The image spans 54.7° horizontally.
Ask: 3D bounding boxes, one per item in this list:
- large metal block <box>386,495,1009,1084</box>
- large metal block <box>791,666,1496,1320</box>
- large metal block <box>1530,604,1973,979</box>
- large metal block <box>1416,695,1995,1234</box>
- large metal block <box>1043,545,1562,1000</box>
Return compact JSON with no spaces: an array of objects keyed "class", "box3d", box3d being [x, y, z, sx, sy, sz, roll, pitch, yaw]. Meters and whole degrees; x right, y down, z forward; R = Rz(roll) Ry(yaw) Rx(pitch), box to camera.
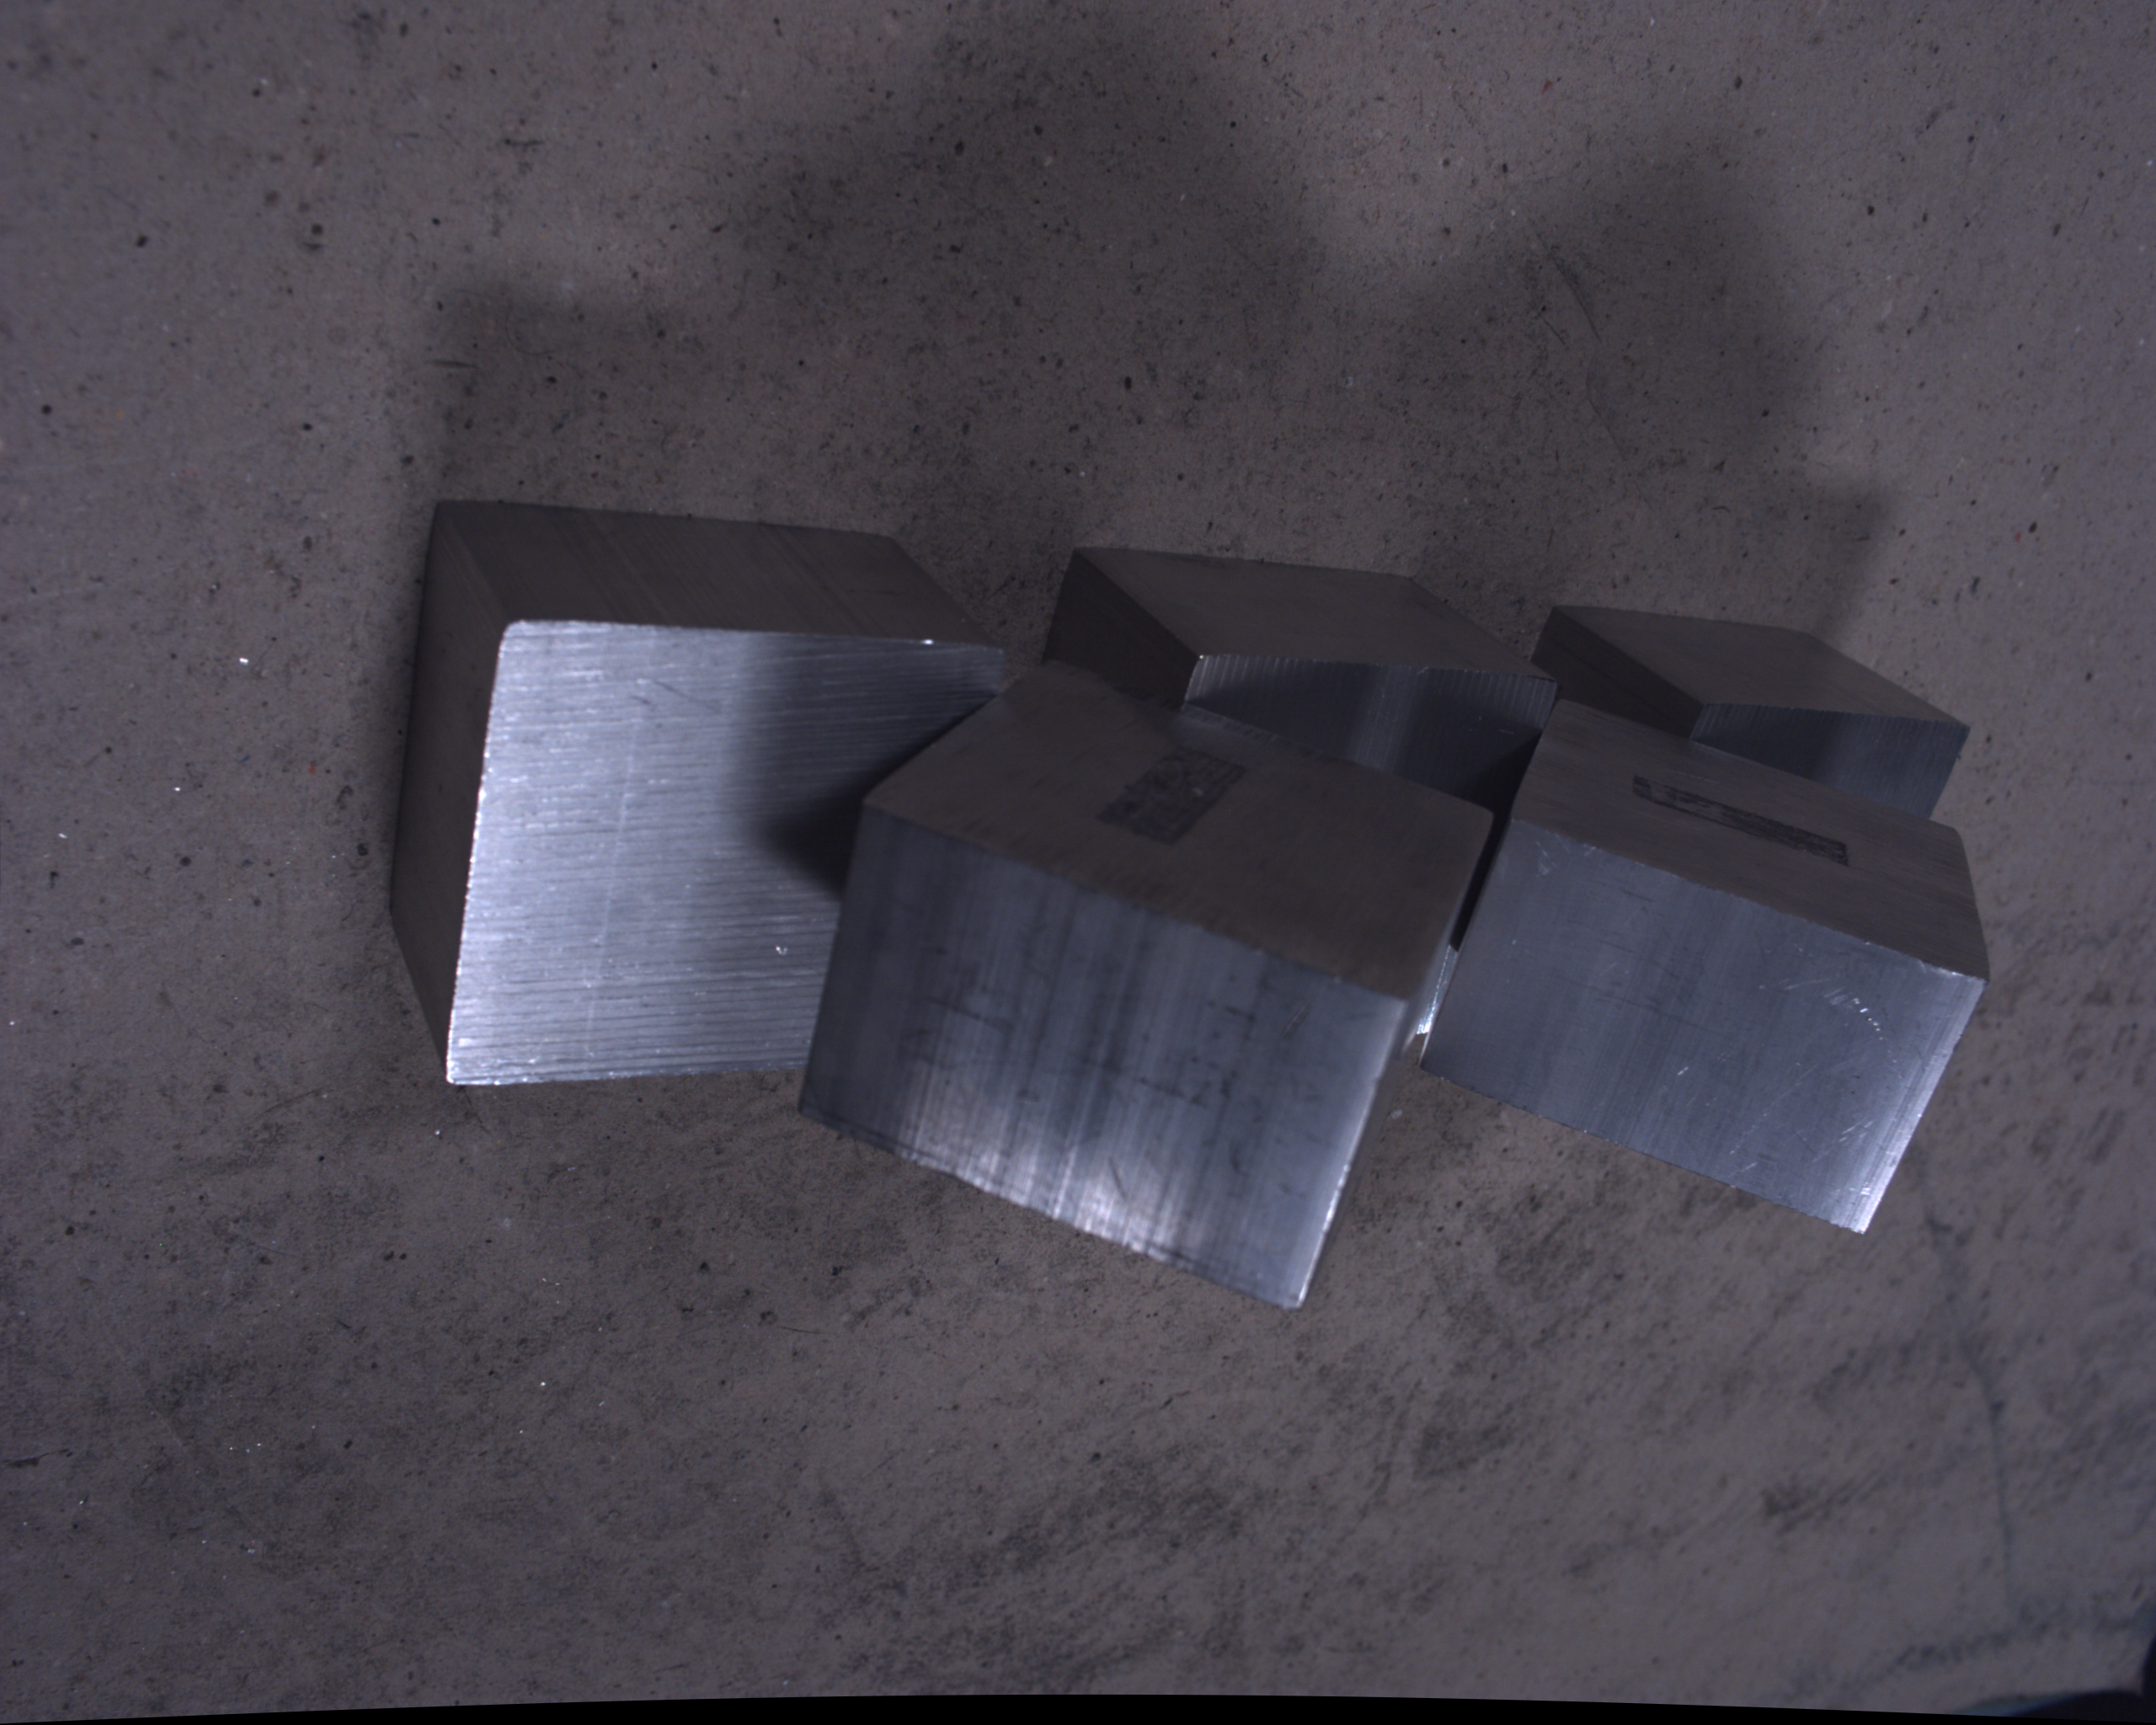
[{"class":"large metal block","box3d":[-0.066,-0.012,0.350,0.081,0.050,0.079,0,118,-29]},{"class":"large metal block","box3d":[0.013,0.015,0.326,0.080,0.080,0.050,-47,155,-62]},{"class":"large metal block","box3d":[0.137,-0.008,0.465,0.081,0.050,0.079,1,118,-30]},{"class":"large metal block","box3d":[0.115,0.014,0.385,0.080,0.080,0.050,20,114,11]},{"class":"large metal block","box3d":[0.035,-0.012,0.406,0.081,0.050,0.079,1,118,-29]}]
